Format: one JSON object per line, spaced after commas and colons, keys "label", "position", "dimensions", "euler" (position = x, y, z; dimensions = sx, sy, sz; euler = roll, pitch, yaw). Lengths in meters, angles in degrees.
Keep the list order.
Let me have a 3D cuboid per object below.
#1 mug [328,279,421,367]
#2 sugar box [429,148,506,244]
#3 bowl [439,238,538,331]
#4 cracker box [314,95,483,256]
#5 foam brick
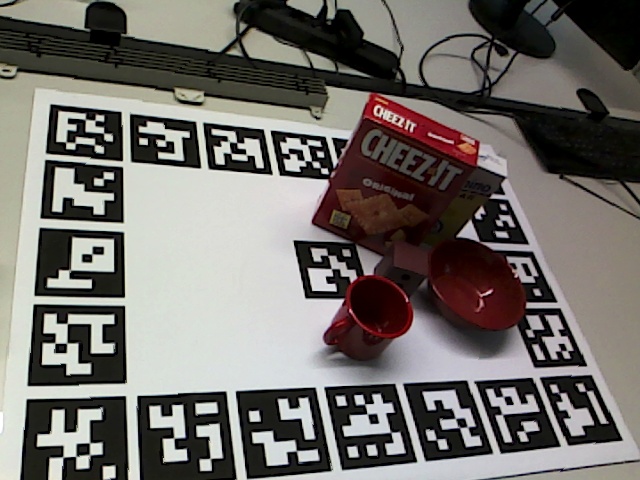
{"label": "mug", "position": [0.064, 0.113, 0.805], "dimensions": [0.116, 0.081, 0.094], "euler": [-6, 48, -26]}
{"label": "sugar box", "position": [0.201, -0.072, 0.958], "dimensions": [0.092, 0.176, 0.045], "euler": [19, 48, -8]}
{"label": "bowl", "position": [0.238, 0.076, 0.921], "dimensions": [0.161, 0.055, 0.162], "euler": [12, 50, -15]}
{"label": "cracker box", "position": [0.107, -0.076, 0.897], "dimensions": [0.164, 0.214, 0.072], "euler": [26, 45, -3]}
{"label": "foam brick", "position": [0.118, 0.048, 0.896], "dimensions": [0.052, 0.078, 0.051], "euler": [15, 48, -11]}
